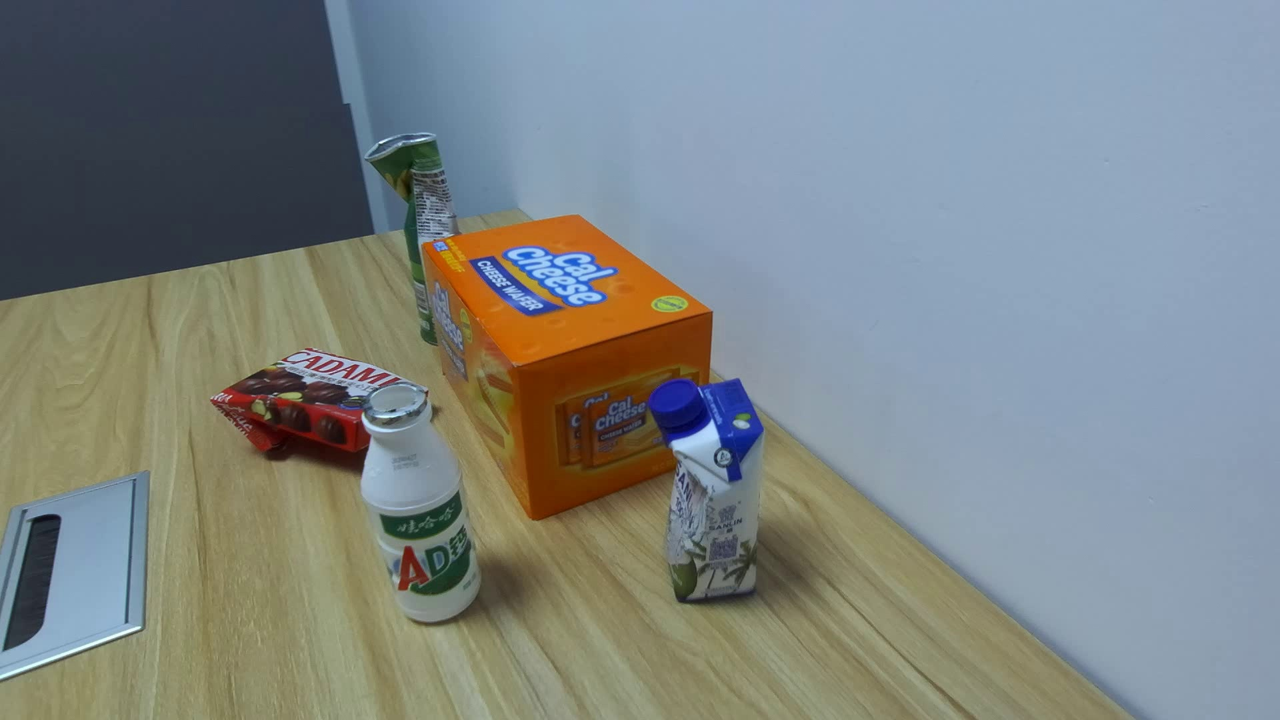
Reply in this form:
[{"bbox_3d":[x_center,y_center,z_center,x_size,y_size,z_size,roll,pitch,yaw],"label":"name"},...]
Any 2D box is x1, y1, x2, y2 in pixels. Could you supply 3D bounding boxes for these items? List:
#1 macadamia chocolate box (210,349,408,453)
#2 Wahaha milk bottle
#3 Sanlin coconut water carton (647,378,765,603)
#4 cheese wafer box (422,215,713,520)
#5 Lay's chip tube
[{"bbox_3d":[-0.243,0.031,0.560,0.126,0.056,0.112,8,32,11],"label":"macadamia chocolate box"},{"bbox_3d":[-0.123,0.084,0.394,0.053,0.137,0.053,0,33,0],"label":"Wahaha milk bottle"},{"bbox_3d":[0.040,0.073,0.410,0.058,0.142,0.078,-9,33,-3],"label":"Sanlin coconut water carton"},{"bbox_3d":[-0.062,-0.010,0.559,0.149,0.129,0.221,-17,36,-23],"label":"cheese wafer box"},{"bbox_3d":[-0.195,-0.111,0.659,0.071,0.200,0.079,-12,32,-5],"label":"Lay's chip tube"}]
